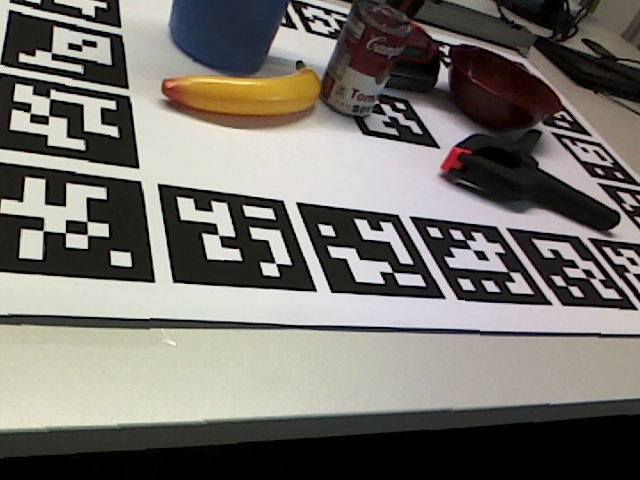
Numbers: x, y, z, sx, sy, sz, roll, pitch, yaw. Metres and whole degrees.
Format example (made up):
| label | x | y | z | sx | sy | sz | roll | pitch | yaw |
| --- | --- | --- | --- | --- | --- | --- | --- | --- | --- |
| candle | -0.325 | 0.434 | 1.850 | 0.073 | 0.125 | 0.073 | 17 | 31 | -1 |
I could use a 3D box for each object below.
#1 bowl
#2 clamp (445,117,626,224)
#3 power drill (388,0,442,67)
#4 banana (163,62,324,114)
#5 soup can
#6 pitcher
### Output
| label | x | y | z | sx | sy | sz | roll | pitch | yaw |
| --- | --- | --- | --- | --- | --- | --- | --- | --- | --- |
| bowl | 0.232 | -0.198 | 0.805 | 0.161 | 0.055 | 0.162 | 16 | 41 | -14 |
| clamp | 0.223 | -0.087 | 0.677 | 0.201 | 0.037 | 0.166 | 2 | 48 | -29 |
| power drill | 0.150 | -0.305 | 0.742 | 0.183 | 0.187 | 0.058 | 0 | 46 | -31 |
| banana | -0.058 | -0.148 | 0.597 | 0.075 | 0.039 | 0.196 | 39 | 37 | 28 |
| soup can | 0.050 | -0.199 | 0.665 | 0.068 | 0.102 | 0.068 | 15 | 32 | -10 |
| pitcher | -0.049 | -0.301 | 0.607 | 0.188 | 0.242 | 0.134 | -19 | 54 | -43 |
